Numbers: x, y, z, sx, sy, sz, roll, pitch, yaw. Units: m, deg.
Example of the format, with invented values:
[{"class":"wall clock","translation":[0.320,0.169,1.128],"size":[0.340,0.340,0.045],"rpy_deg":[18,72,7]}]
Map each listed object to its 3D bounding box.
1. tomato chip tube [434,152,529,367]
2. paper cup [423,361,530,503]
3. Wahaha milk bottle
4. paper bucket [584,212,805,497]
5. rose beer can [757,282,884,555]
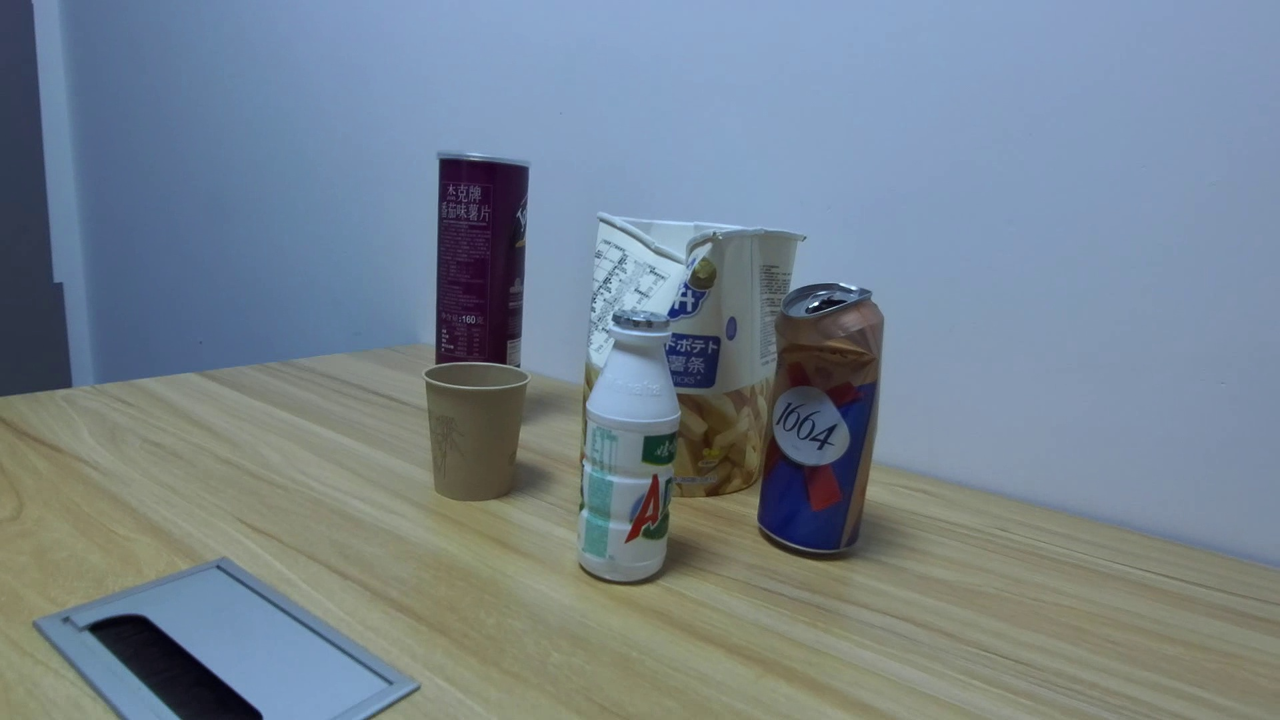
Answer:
[{"class":"tomato chip tube","translation":[-0.141,-0.055,0.623],"size":[0.078,0.233,0.078],"rpy_deg":[4,8,0]},{"class":"paper cup","translation":[-0.115,0.050,0.495],"size":[0.075,0.082,0.075],"rpy_deg":[4,12,-1]},{"class":"Wahaha milk bottle","translation":[-0.005,0.048,0.394],"size":[0.053,0.147,0.053],"rpy_deg":[5,11,-1]},{"class":"paper bucket","translation":[0.025,-0.012,0.567],"size":[0.162,0.202,0.170],"rpy_deg":[11,11,32]},{"class":"rose beer can","translation":[0.114,0.038,0.446],"size":[0.069,0.168,0.070],"rpy_deg":[6,15,18]}]
